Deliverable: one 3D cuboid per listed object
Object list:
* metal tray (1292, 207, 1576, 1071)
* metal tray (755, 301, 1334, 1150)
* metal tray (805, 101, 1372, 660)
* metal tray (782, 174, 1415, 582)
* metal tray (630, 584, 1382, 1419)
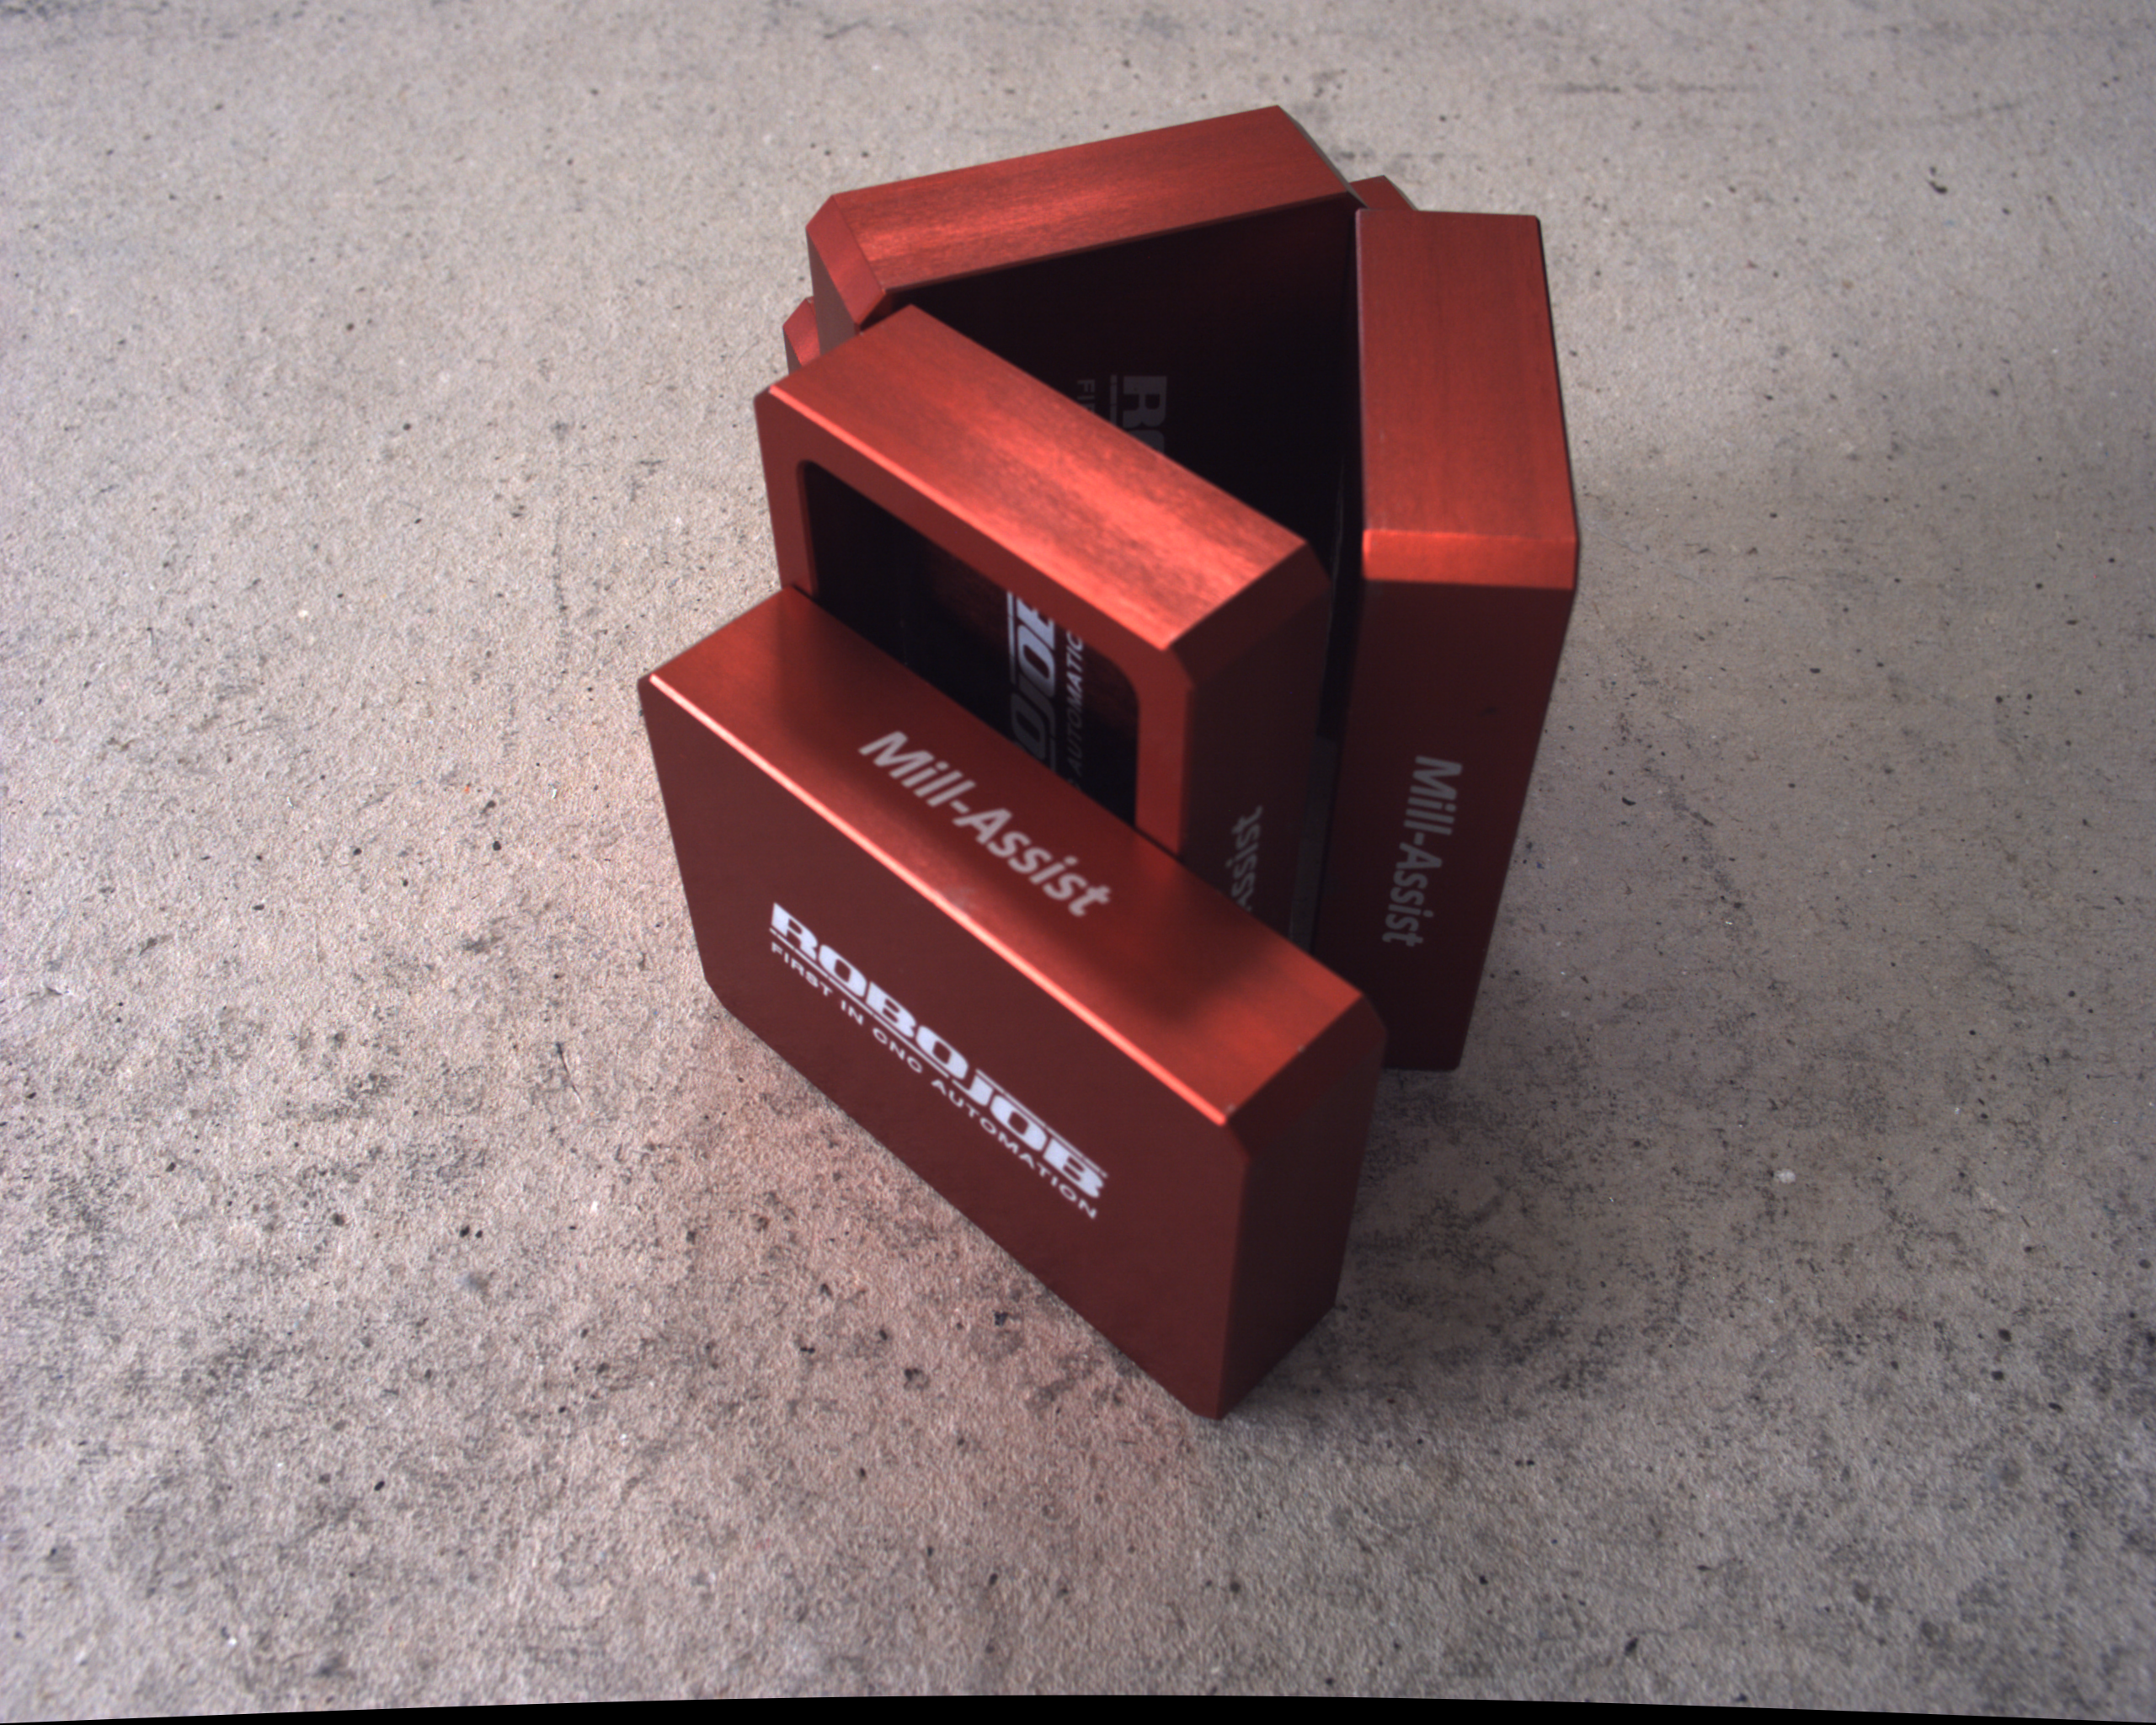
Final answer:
[{"bbox_3d":[0.058,-0.035,0.365,0.030,0.129,0.090,4,51,3],"label":"metal tray"},{"bbox_3d":[-0.007,-0.017,0.350,0.090,0.129,0.030,36,59,26],"label":"metal tray"},{"bbox_3d":[0.002,-0.071,0.395,0.091,0.129,0.030,-16,52,-13],"label":"metal tray"},{"bbox_3d":[0.010,-0.085,0.433,0.131,0.089,0.030,-15,52,-13],"label":"metal tray"},{"bbox_3d":[-0.015,0.023,0.342,0.130,0.090,0.030,36,59,26],"label":"metal tray"}]
